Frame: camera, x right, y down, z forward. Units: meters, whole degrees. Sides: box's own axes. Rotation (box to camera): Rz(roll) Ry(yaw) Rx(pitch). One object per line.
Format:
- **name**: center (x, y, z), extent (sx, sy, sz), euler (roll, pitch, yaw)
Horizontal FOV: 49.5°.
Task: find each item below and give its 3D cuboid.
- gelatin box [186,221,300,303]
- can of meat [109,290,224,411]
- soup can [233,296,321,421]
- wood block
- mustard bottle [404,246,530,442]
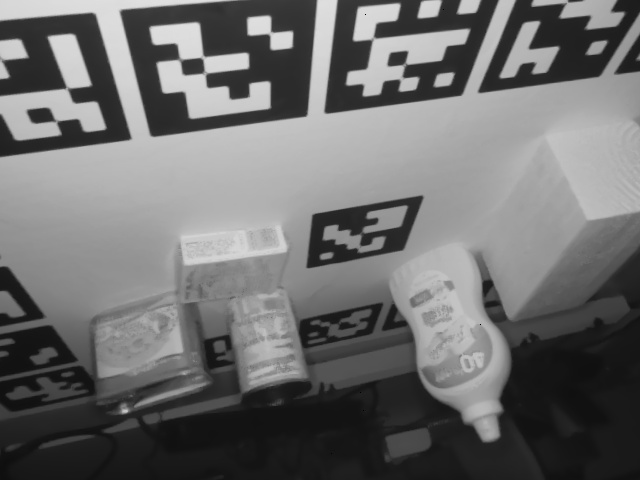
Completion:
- **gelatin box**: center (-0.067, 0.018, 0.596), extent (0.090, 0.030, 0.072), euler (-5, 143, -21)
- **can of meat**: center (-0.142, 0.101, 0.645), extent (0.102, 0.084, 0.057), euler (-15, 146, 2)
- **soup can**: center (-0.044, 0.114, 0.673), extent (0.068, 0.102, 0.067), euler (-12, 145, -7)
- **wood block**: center (0.244, -0.008, 0.648), extent (0.091, 0.090, 0.204), euler (-8, 150, -10)
- **mustard bottle**: center (0.153, 0.105, 0.688), extent (0.095, 0.192, 0.058), euler (-22, 147, 12)
